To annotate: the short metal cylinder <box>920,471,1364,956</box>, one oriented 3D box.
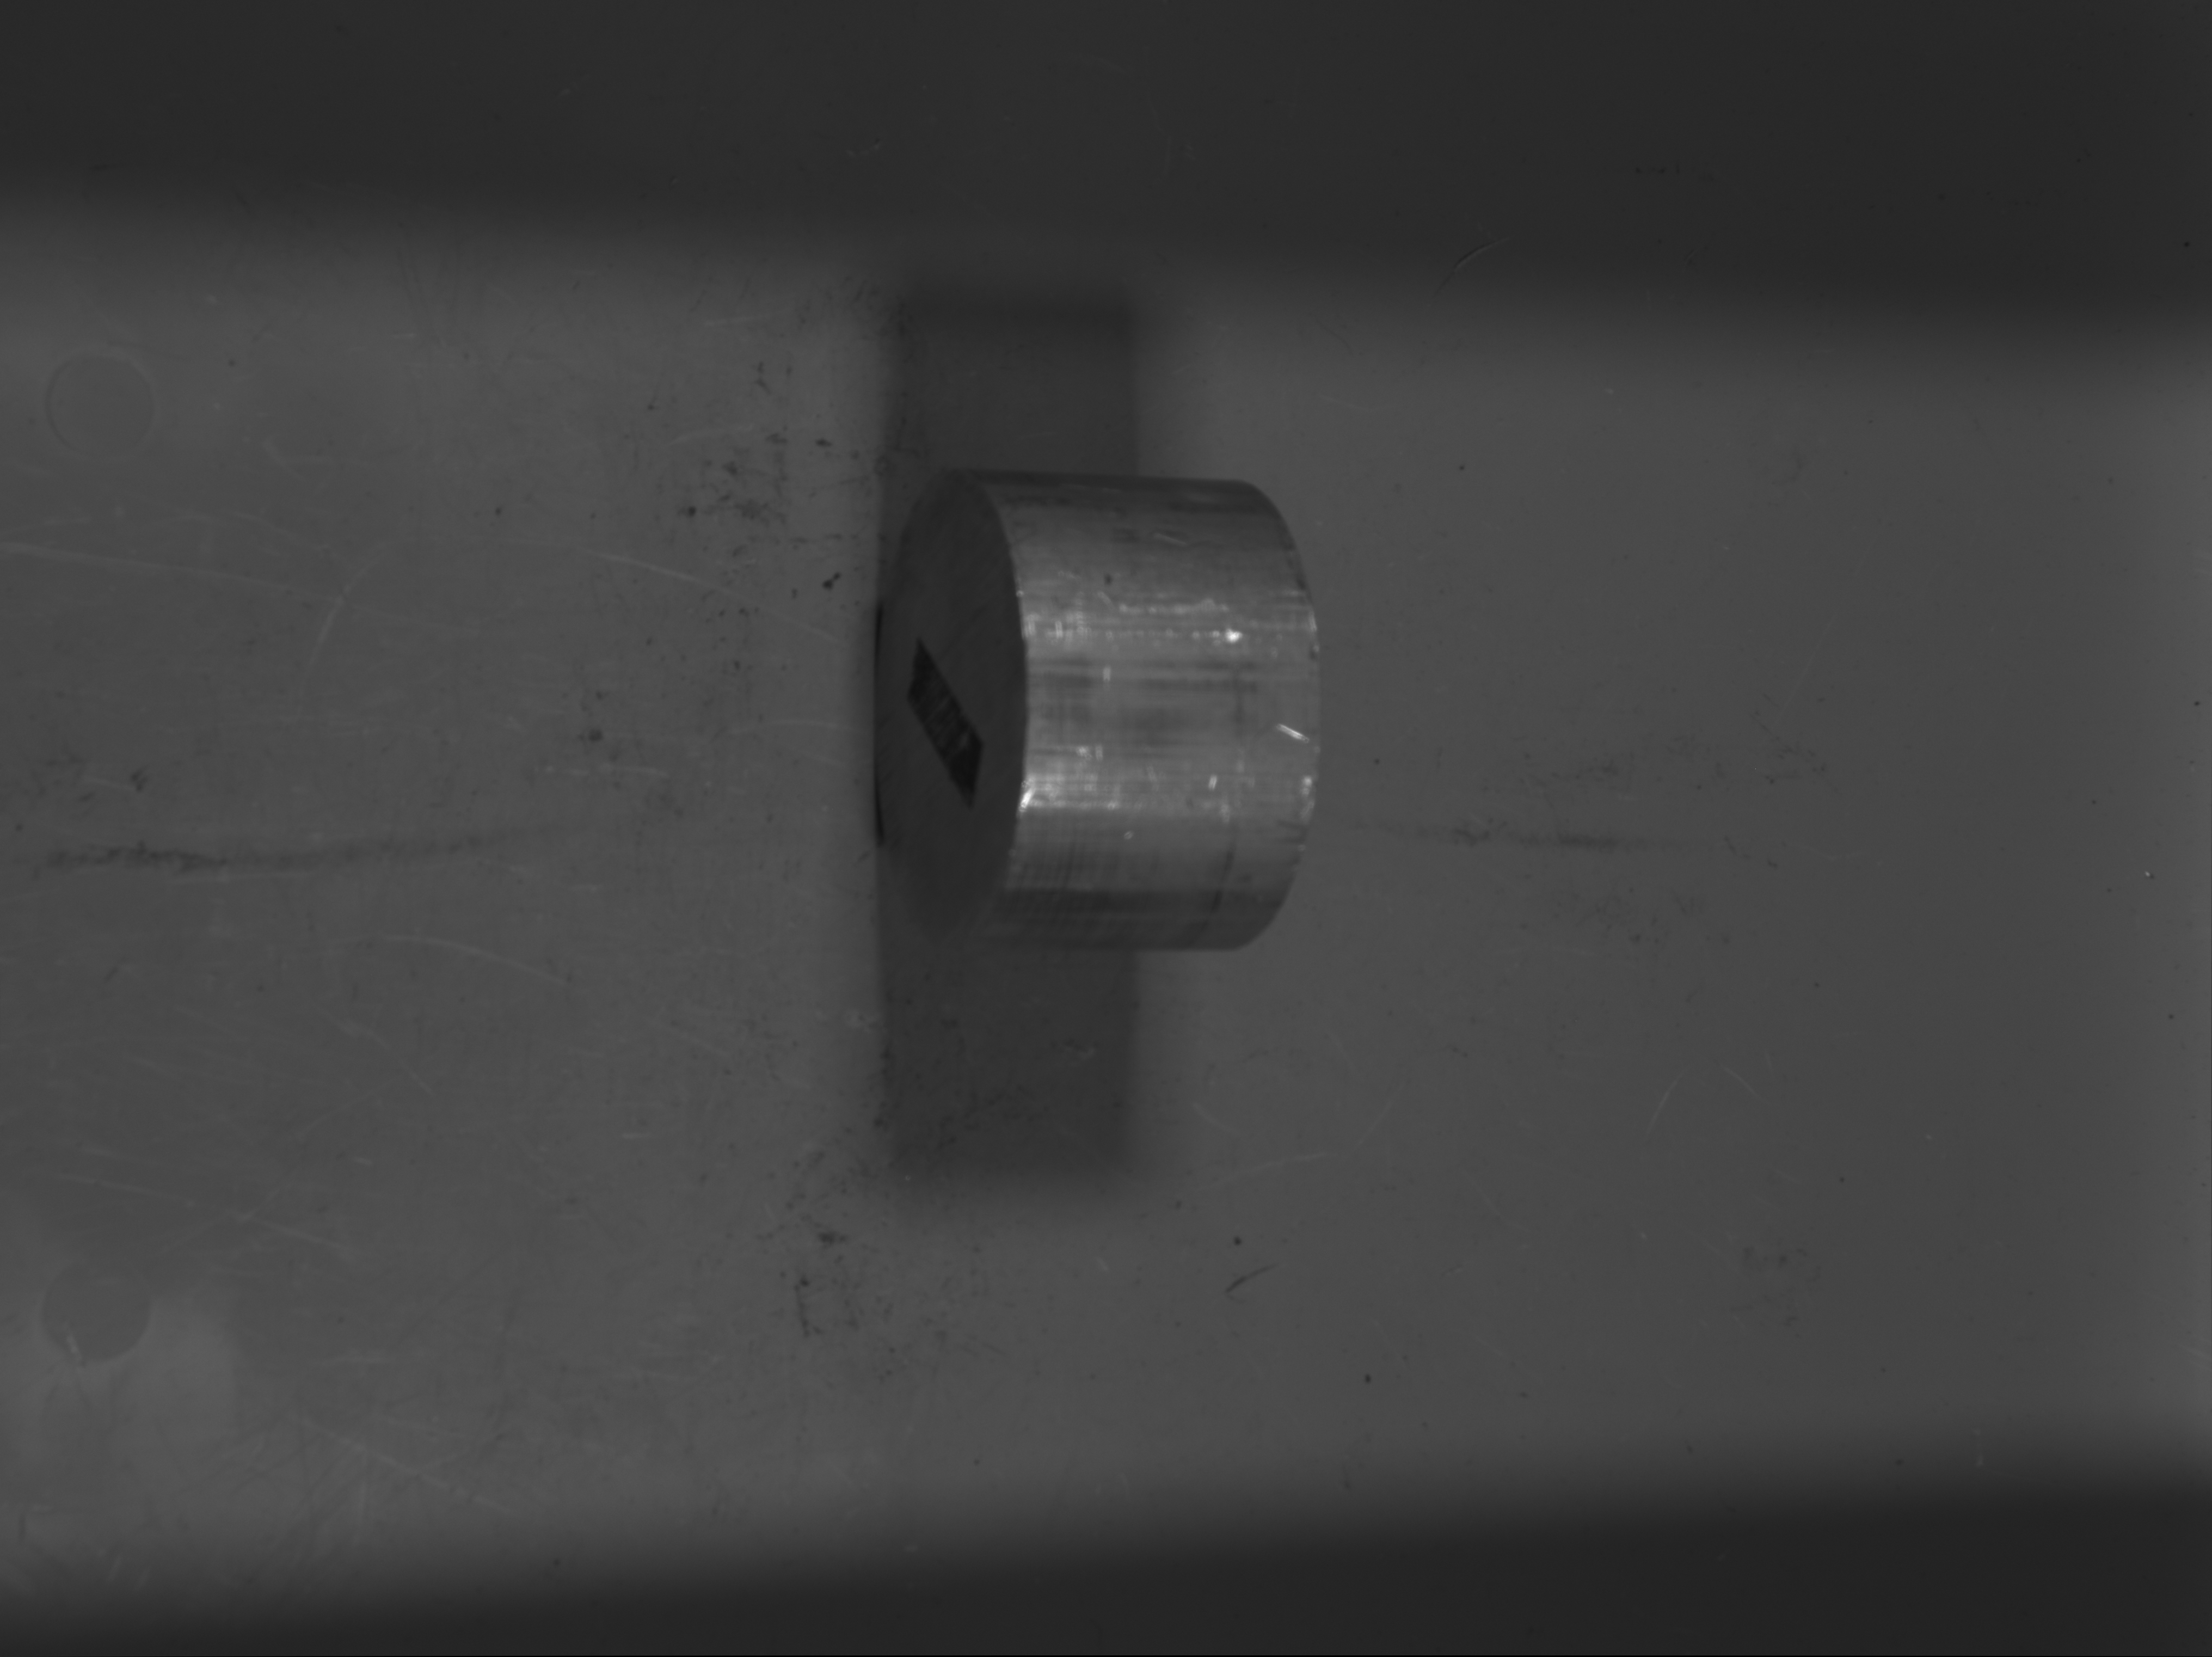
[{"bbox_3d":[0.004,-0.019,0.614,0.050,0.080,0.080,0,90,-20],"label":"short metal cylinder"}]
